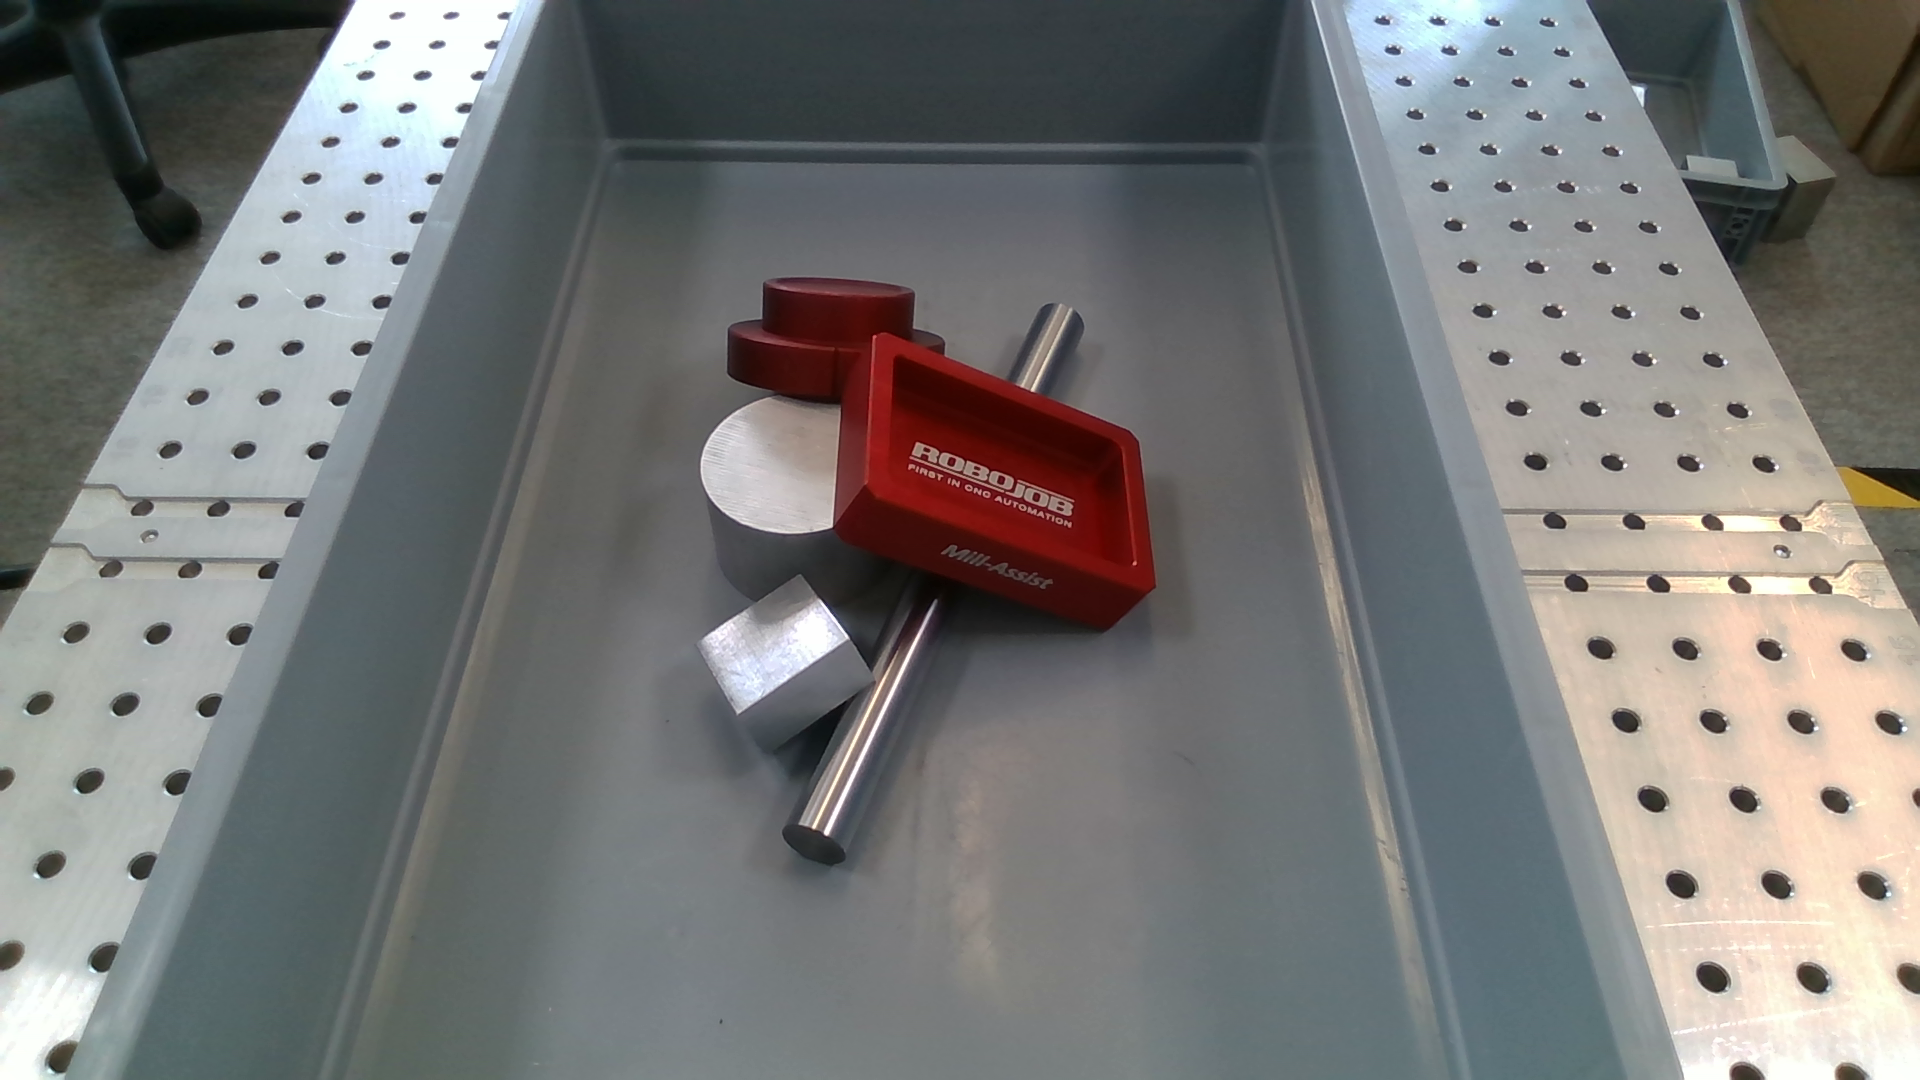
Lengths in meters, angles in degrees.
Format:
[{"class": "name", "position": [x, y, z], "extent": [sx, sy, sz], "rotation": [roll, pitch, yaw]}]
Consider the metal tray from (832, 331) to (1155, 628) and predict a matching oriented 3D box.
[{"class": "metal tray", "position": [0.015, -0.024, 0.564], "extent": [0.130, 0.030, 0.090], "rotation": [19, 47, -22]}]

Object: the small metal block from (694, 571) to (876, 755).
[{"class": "small metal block", "position": [-0.068, 0.047, 0.532], "extent": [0.050, 0.025, 0.050], "rotation": [-35, 41, -7]}]

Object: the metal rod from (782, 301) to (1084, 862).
[{"class": "metal rod", "position": [-0.002, 0.001, 0.585], "extent": [0.025, 0.025, 0.299], "rotation": [15, 52, 13]}]

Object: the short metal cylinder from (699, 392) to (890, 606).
[{"class": "short metal cylinder", "position": [-0.067, -0.017, 0.584], "extent": [0.080, 0.050, 0.080], "rotation": [0, 50, 0]}]

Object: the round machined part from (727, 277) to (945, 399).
[{"class": "round machined part", "position": [-0.056, -0.094, 0.623], "extent": [0.098, 0.042, 0.098], "rotation": [4, 17, -1]}]
